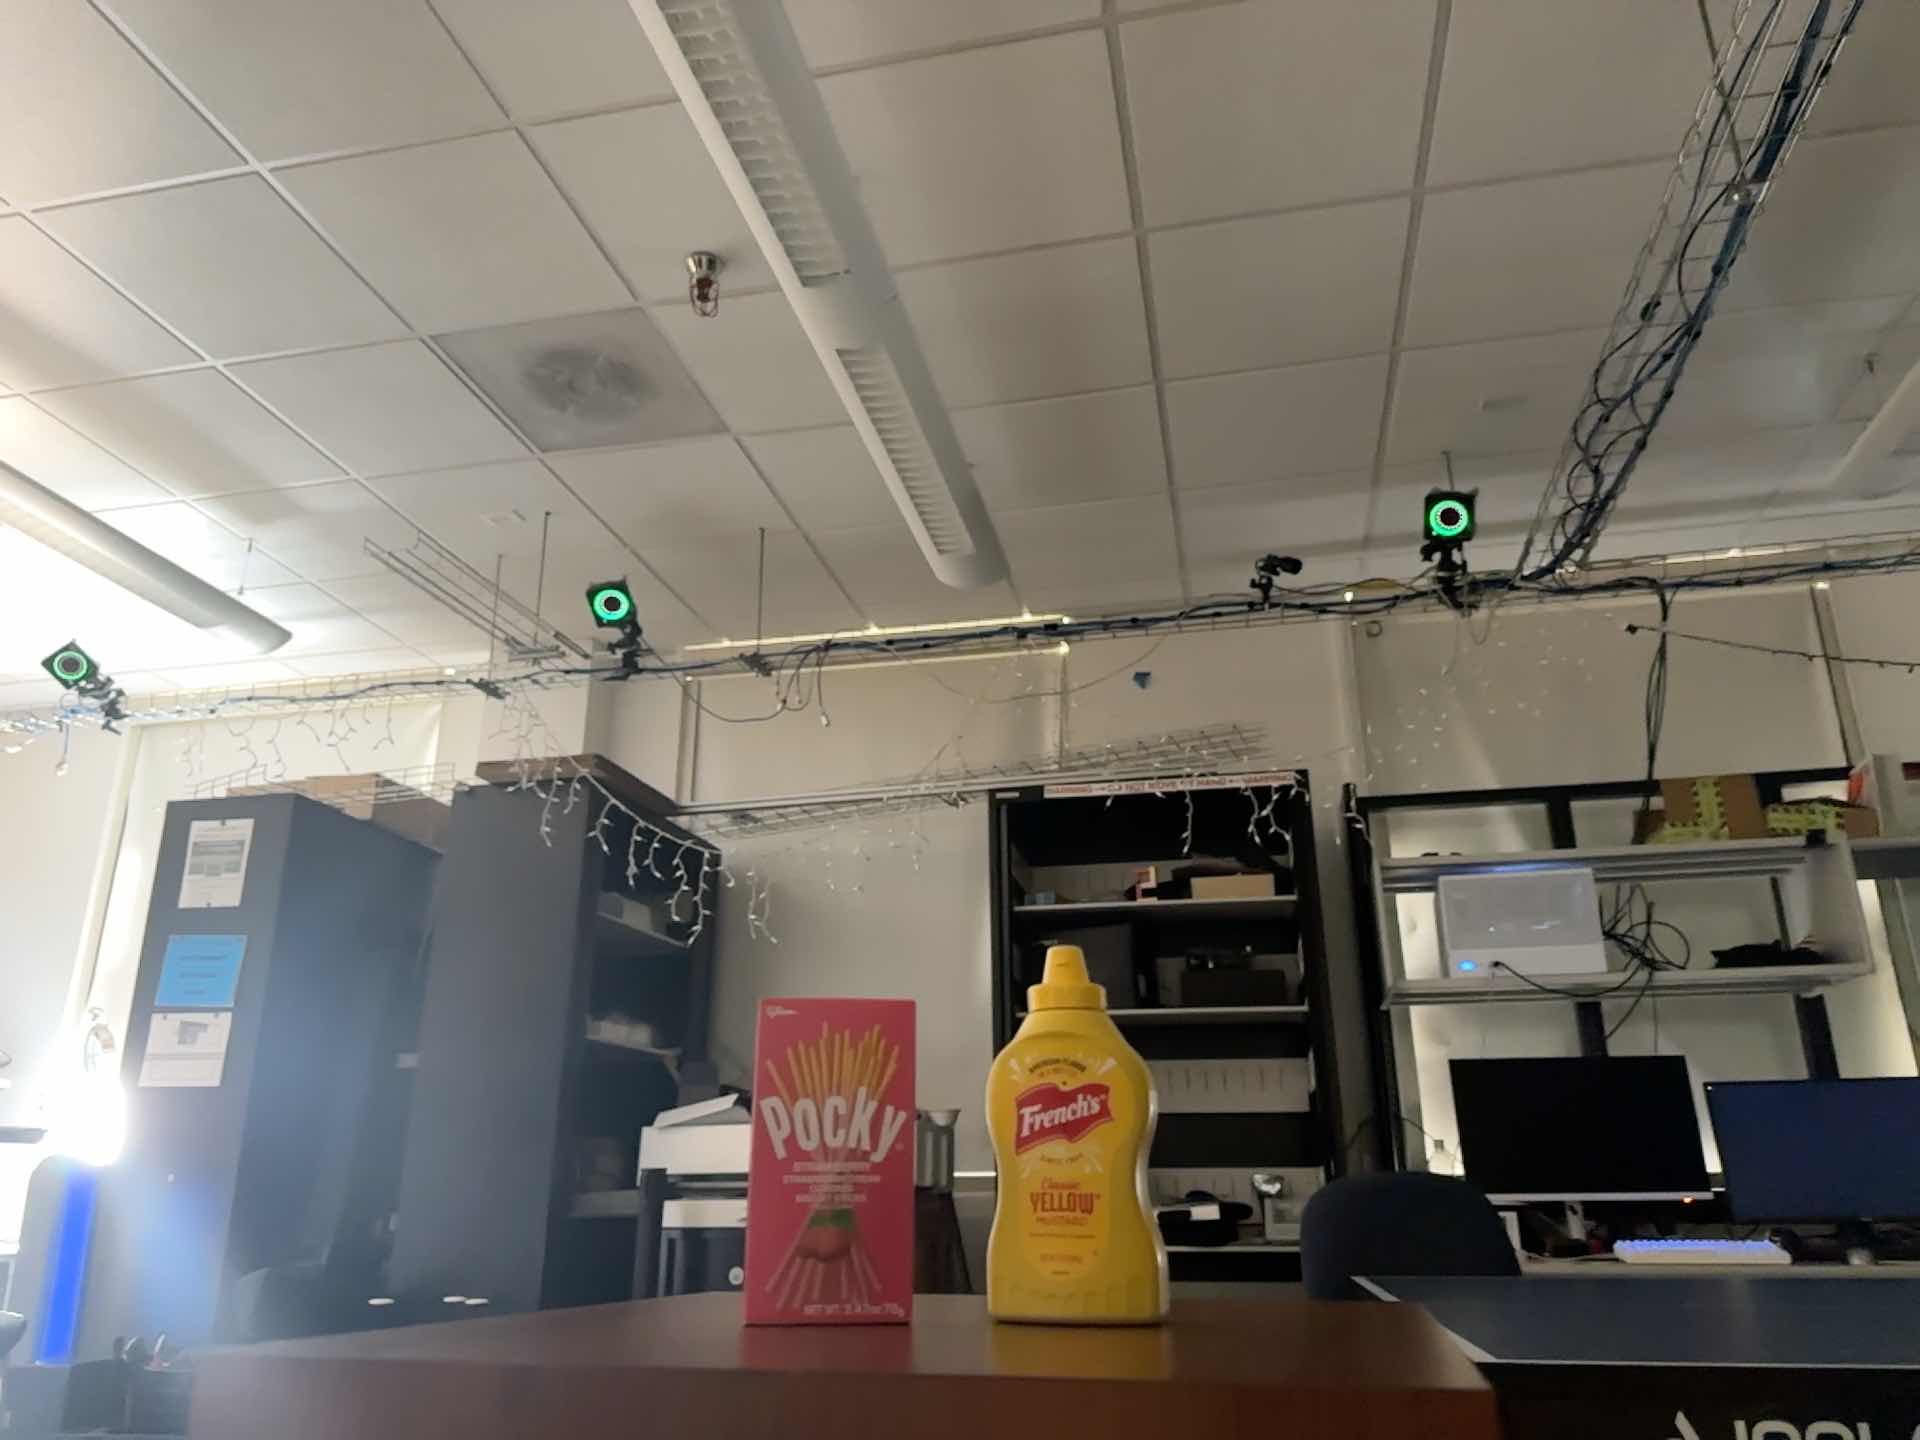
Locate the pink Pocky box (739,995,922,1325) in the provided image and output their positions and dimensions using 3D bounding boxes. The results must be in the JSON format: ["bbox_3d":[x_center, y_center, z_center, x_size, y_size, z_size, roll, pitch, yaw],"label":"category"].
[{"bbox_3d":[-0.063,0.216,0.674,0.084,0.154,0.029,2,-17,-2],"label":"pink Pocky box"}]

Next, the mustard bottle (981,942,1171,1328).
[{"bbox_3d":[0.055,0.205,0.683,0.092,0.184,0.054,-6,-15,17],"label":"mustard bottle"}]
